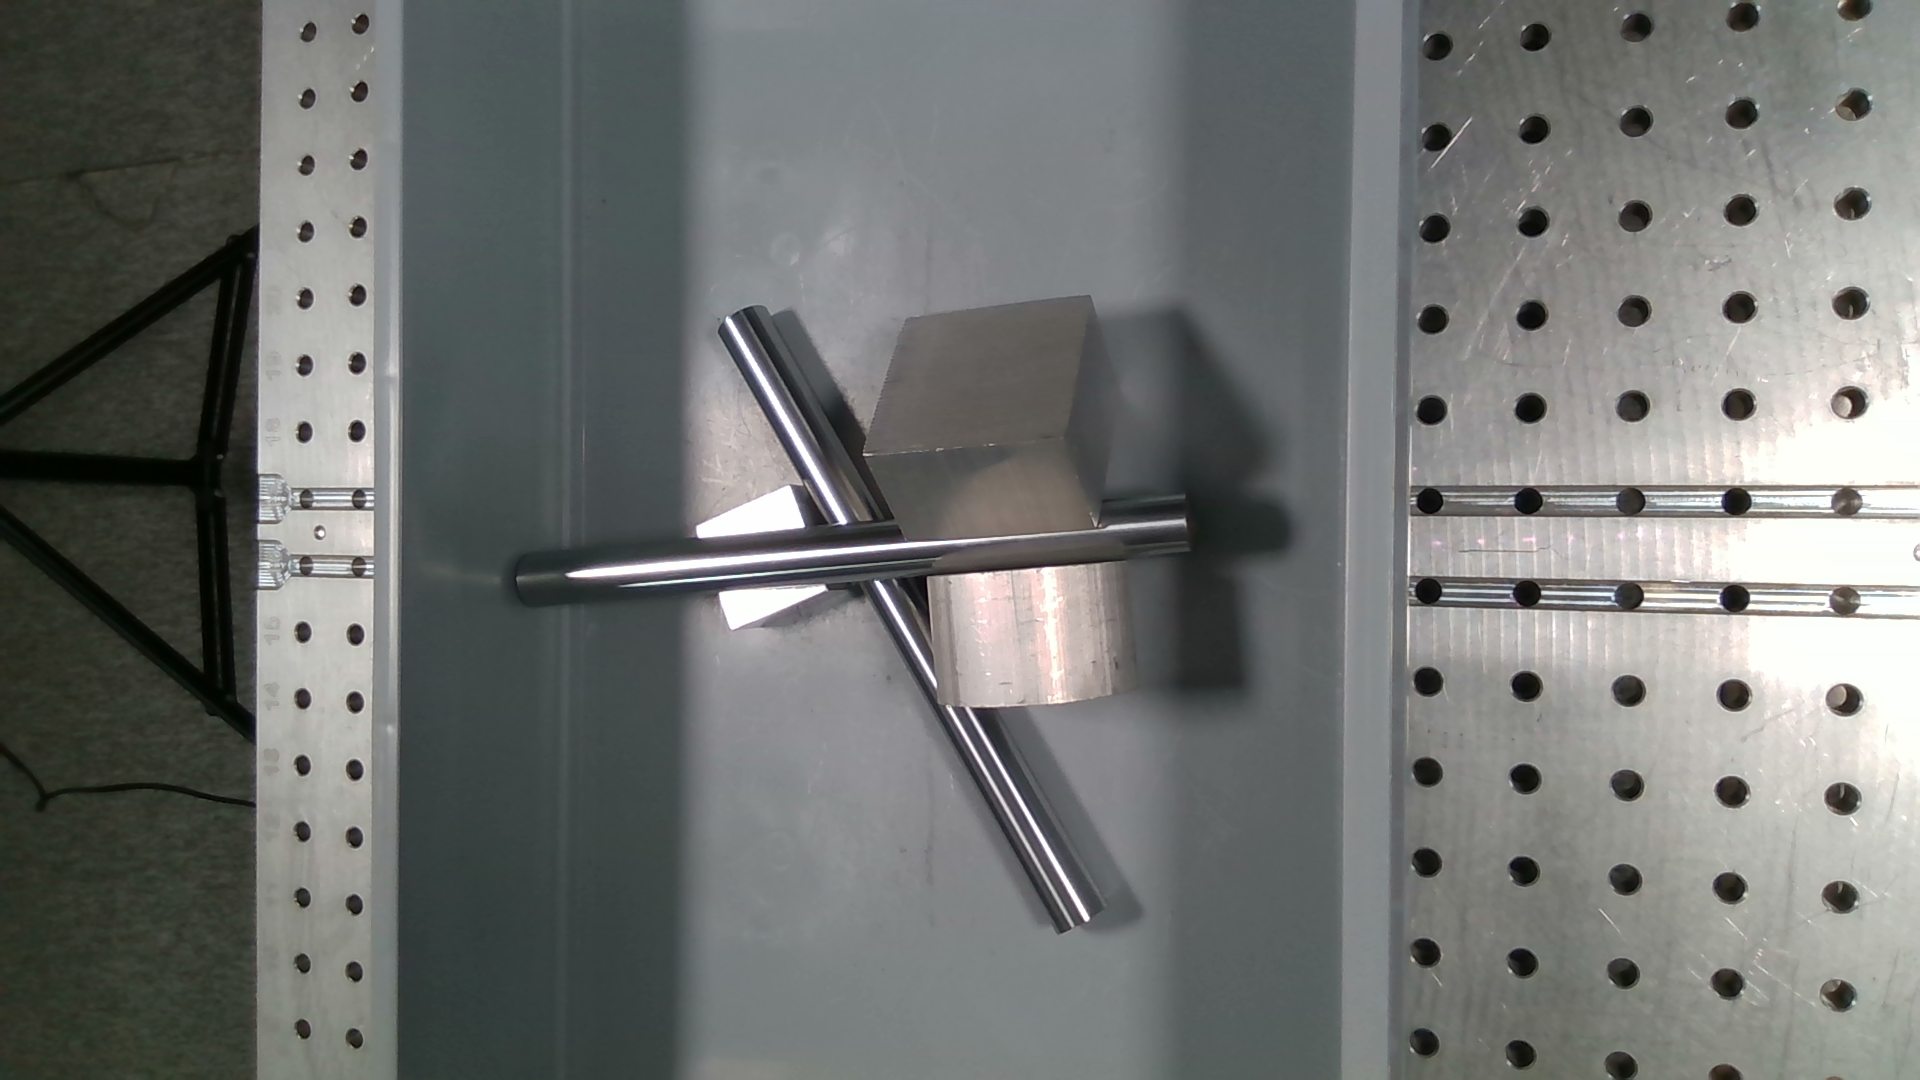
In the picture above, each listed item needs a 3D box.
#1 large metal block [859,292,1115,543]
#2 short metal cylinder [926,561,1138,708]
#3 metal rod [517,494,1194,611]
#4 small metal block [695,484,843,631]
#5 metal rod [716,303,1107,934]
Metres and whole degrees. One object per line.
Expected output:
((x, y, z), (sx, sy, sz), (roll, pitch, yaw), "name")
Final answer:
((0.014, -0.048, 0.545), (0.080, 0.050, 0.080), (-4, 48, 20), "large metal block")
((0.028, 0.036, 0.544), (0.080, 0.080, 0.050), (-5, 90, 20), "short metal cylinder")
((-0.052, 0.008, 0.576), (0.300, 0.025, 0.025), (-5, 89, 19), "metal rod")
((-0.084, 0.008, 0.615), (0.050, 0.025, 0.050), (-23, 83, 19), "small metal block")
((-0.025, 0.028, 0.593), (0.025, 0.025, 0.300), (-33, 79, 17), "metal rod")
